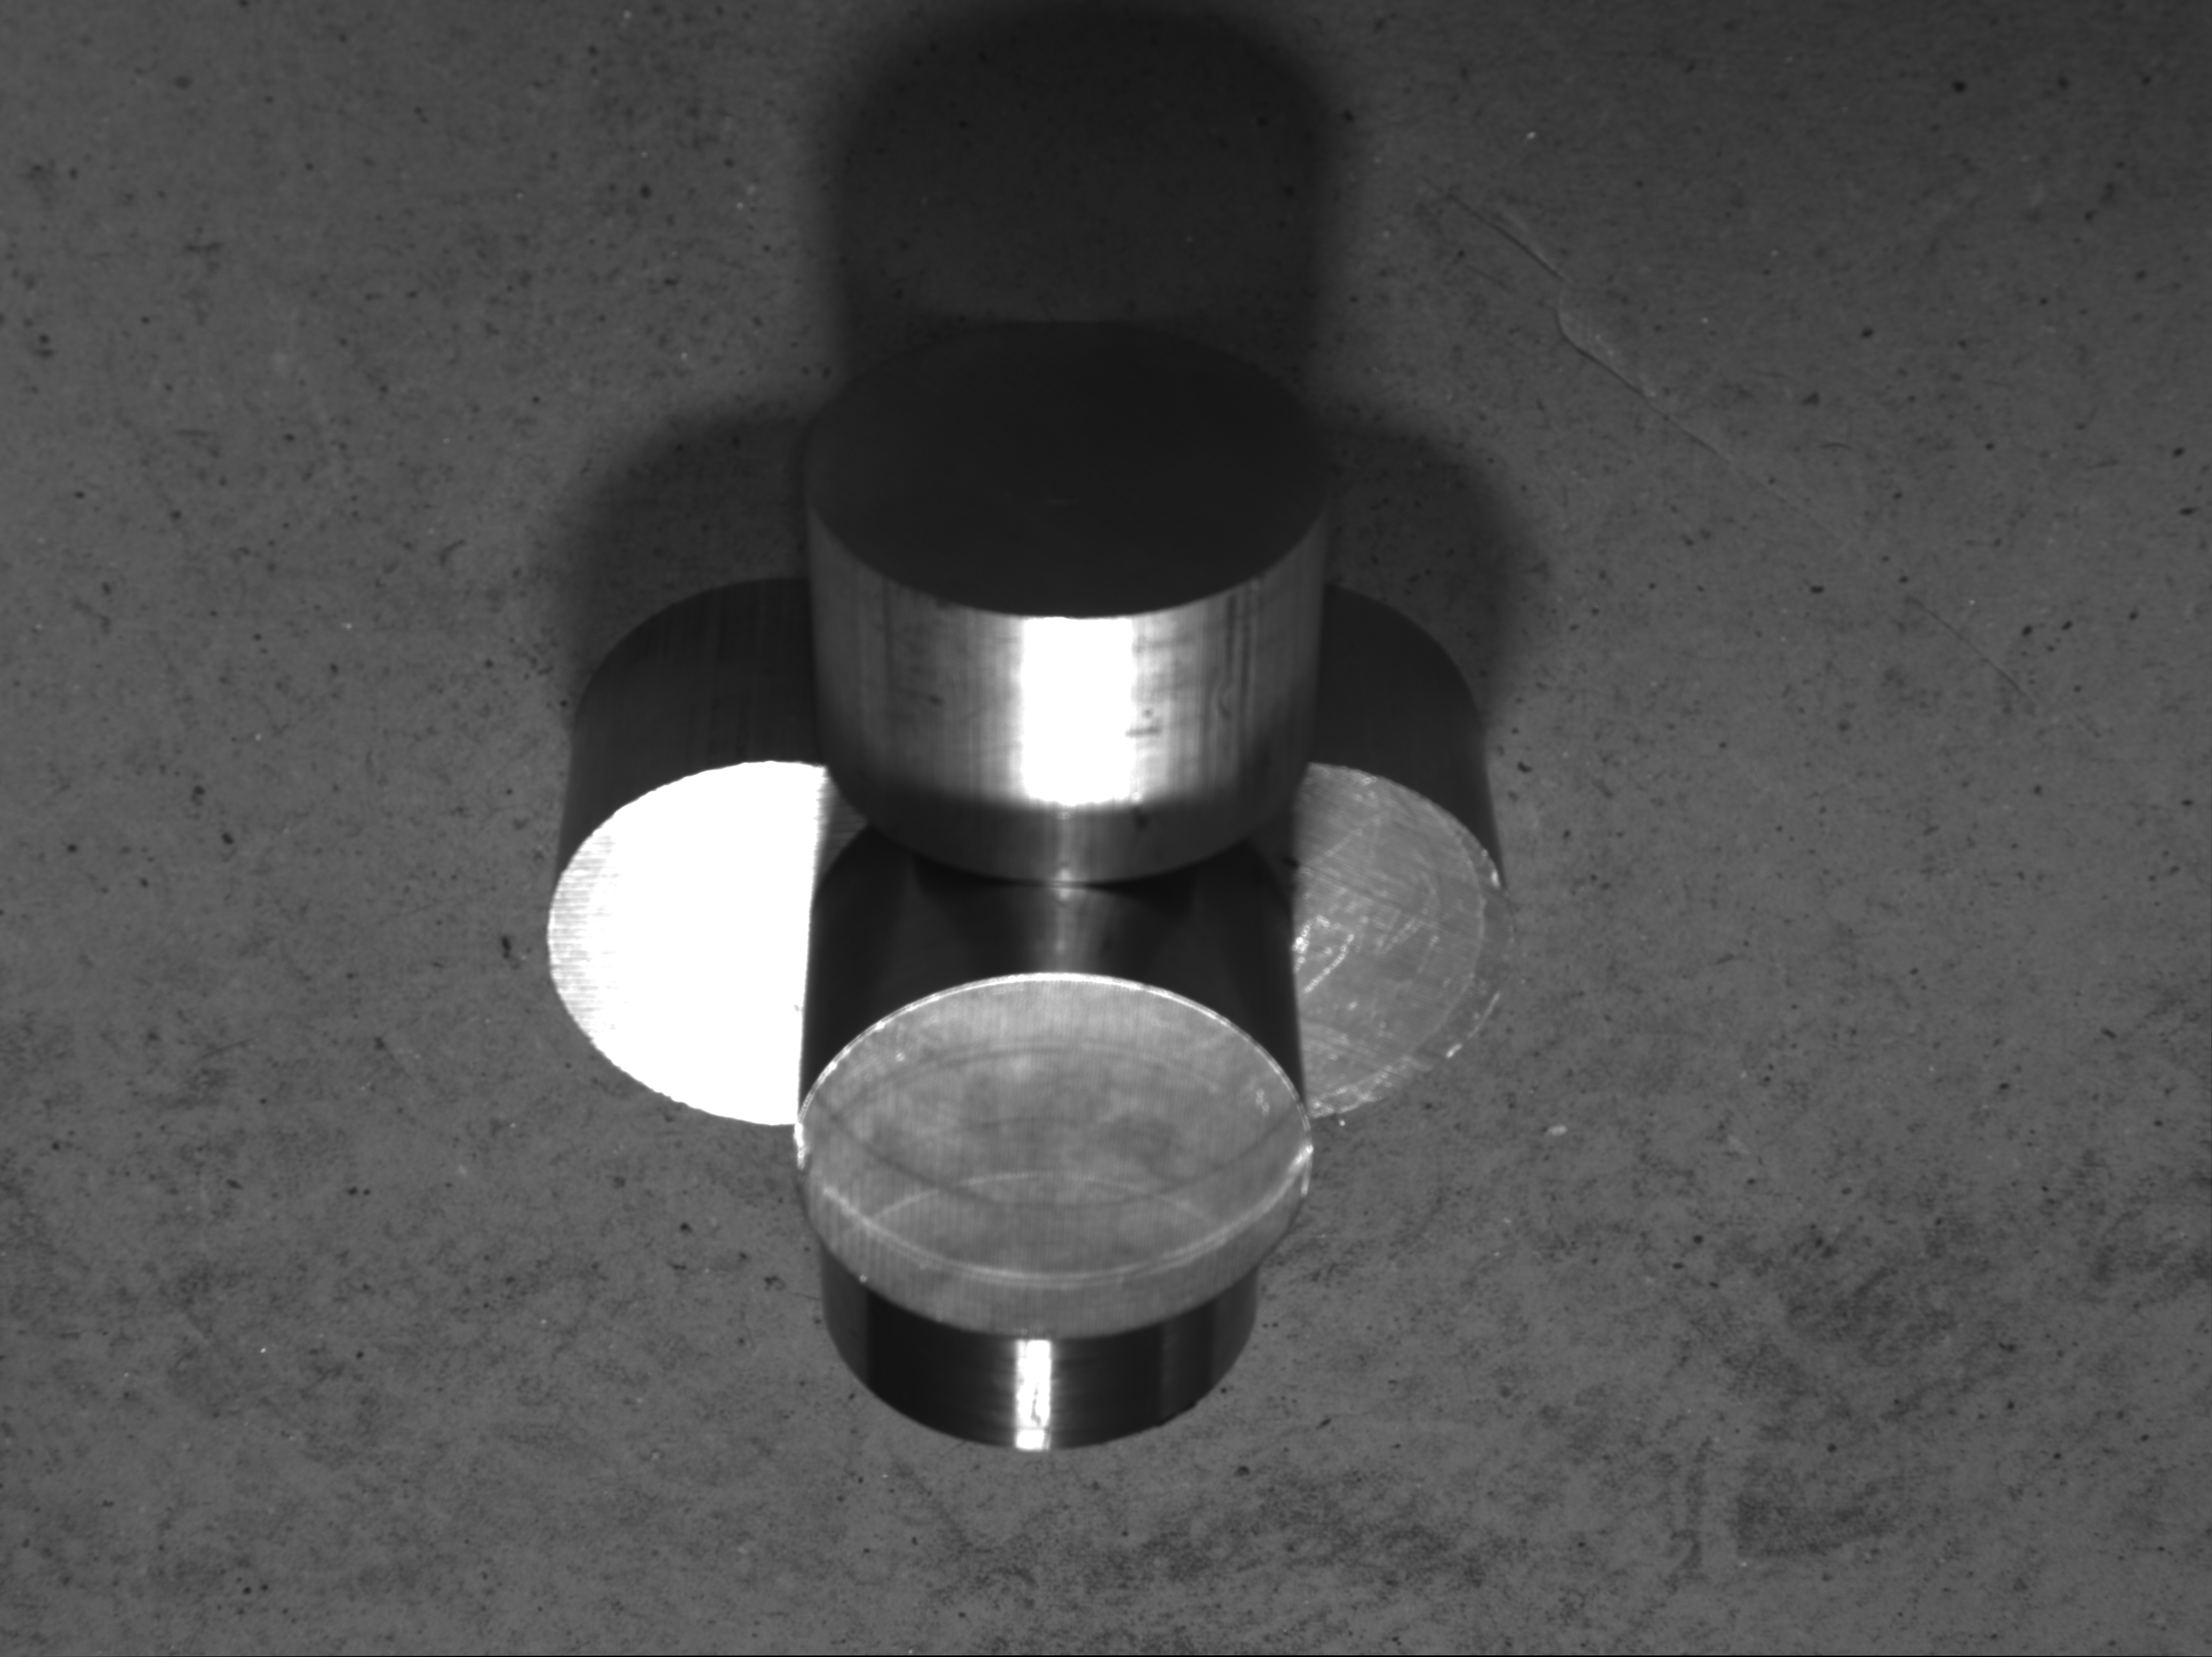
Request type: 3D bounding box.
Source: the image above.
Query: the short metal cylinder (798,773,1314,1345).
[{"bbox_3d":[-0.008,0.037,0.587,0.080,0.050,0.080,-1,130,-1],"label":"short metal cylinder"}]

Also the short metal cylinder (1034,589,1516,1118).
[{"bbox_3d":[0.028,0.004,0.627,0.080,0.050,0.080,-1,130,-1],"label":"short metal cylinder"}]

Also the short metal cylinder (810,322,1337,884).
[{"bbox_3d":[-0.005,-0.036,0.573,0.080,0.080,0.050,0,130,-2],"label":"short metal cylinder"}]

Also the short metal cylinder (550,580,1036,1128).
[{"bbox_3d":[-0.052,0.005,0.624,0.080,0.050,0.080,-1,130,-1],"label":"short metal cylinder"}]

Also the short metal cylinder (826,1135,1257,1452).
[{"bbox_3d":[-0.011,0.065,0.657,0.080,0.080,0.050,0,130,-2],"label":"short metal cylinder"}]
